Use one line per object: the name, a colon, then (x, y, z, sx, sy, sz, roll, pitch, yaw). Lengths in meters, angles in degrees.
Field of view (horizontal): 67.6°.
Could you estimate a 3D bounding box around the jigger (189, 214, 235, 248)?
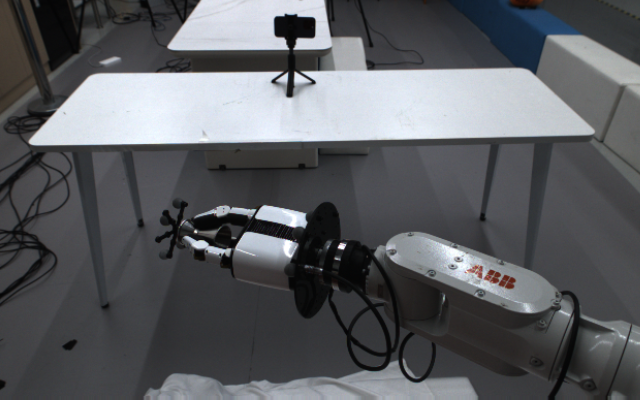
jigger: (-0.167, 0.051, 0.720, 0.071, 0.043, 0.043, 10, 35, 21)
